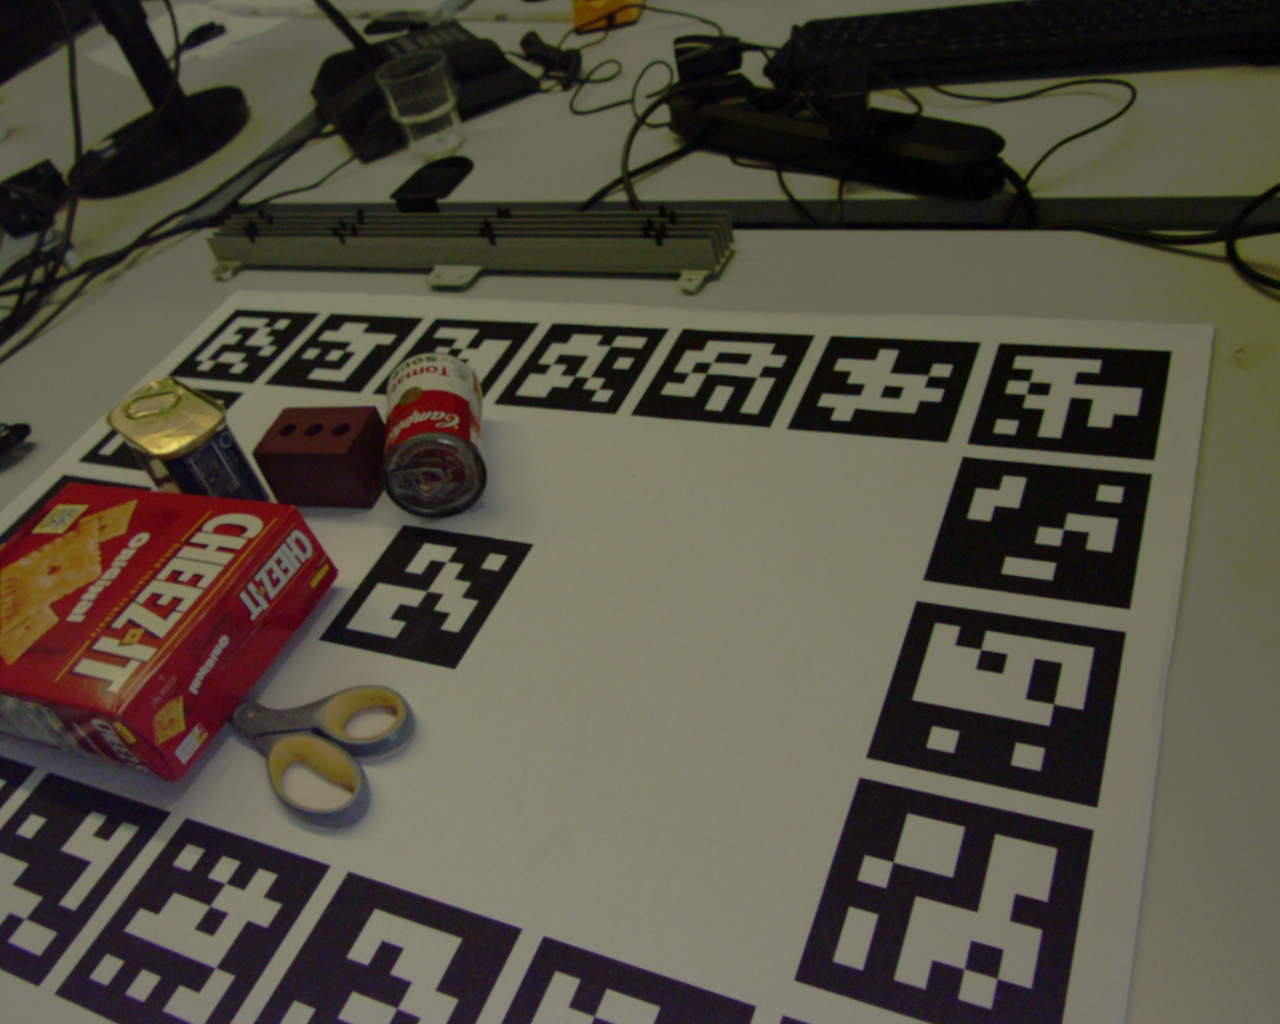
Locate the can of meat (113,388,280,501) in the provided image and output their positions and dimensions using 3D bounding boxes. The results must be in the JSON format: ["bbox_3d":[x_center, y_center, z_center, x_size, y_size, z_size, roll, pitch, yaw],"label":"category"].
[{"bbox_3d":[-0.323,-0.034,0.837,0.103,0.083,0.057,20,56,35],"label":"can of meat"}]

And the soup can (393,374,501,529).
[{"bbox_3d":[-0.138,-0.045,0.802,0.068,0.067,0.103,-21,38,0],"label":"soup can"}]

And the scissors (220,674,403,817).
[{"bbox_3d":[-0.233,0.127,0.674,0.205,0.016,0.087,3,48,24],"label":"scissors"}]

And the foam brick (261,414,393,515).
[{"bbox_3d":[-0.221,-0.034,0.825,0.079,0.051,0.053,-1,47,19],"label":"foam brick"}]

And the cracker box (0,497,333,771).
[{"bbox_3d":[-0.331,0.068,0.727,0.216,0.071,0.164,0,46,26],"label":"cracker box"}]
